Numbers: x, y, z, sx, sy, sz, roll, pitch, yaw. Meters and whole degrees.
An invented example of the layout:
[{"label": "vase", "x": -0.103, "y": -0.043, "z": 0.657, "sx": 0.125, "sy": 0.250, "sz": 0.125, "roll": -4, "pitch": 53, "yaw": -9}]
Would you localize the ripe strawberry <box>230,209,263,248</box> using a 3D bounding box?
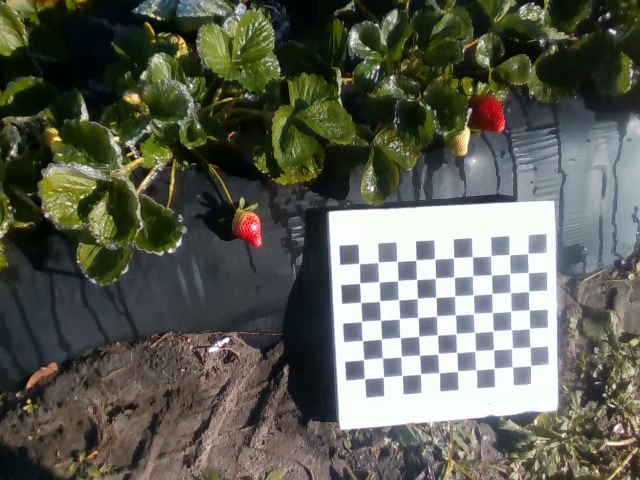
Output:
[{"label": "ripe strawberry", "x": -0.081, "y": -0.012, "z": 0.680, "sx": 0.039, "sy": 0.053, "sz": 0.040, "roll": -25, "pitch": -10, "yaw": -5}]
